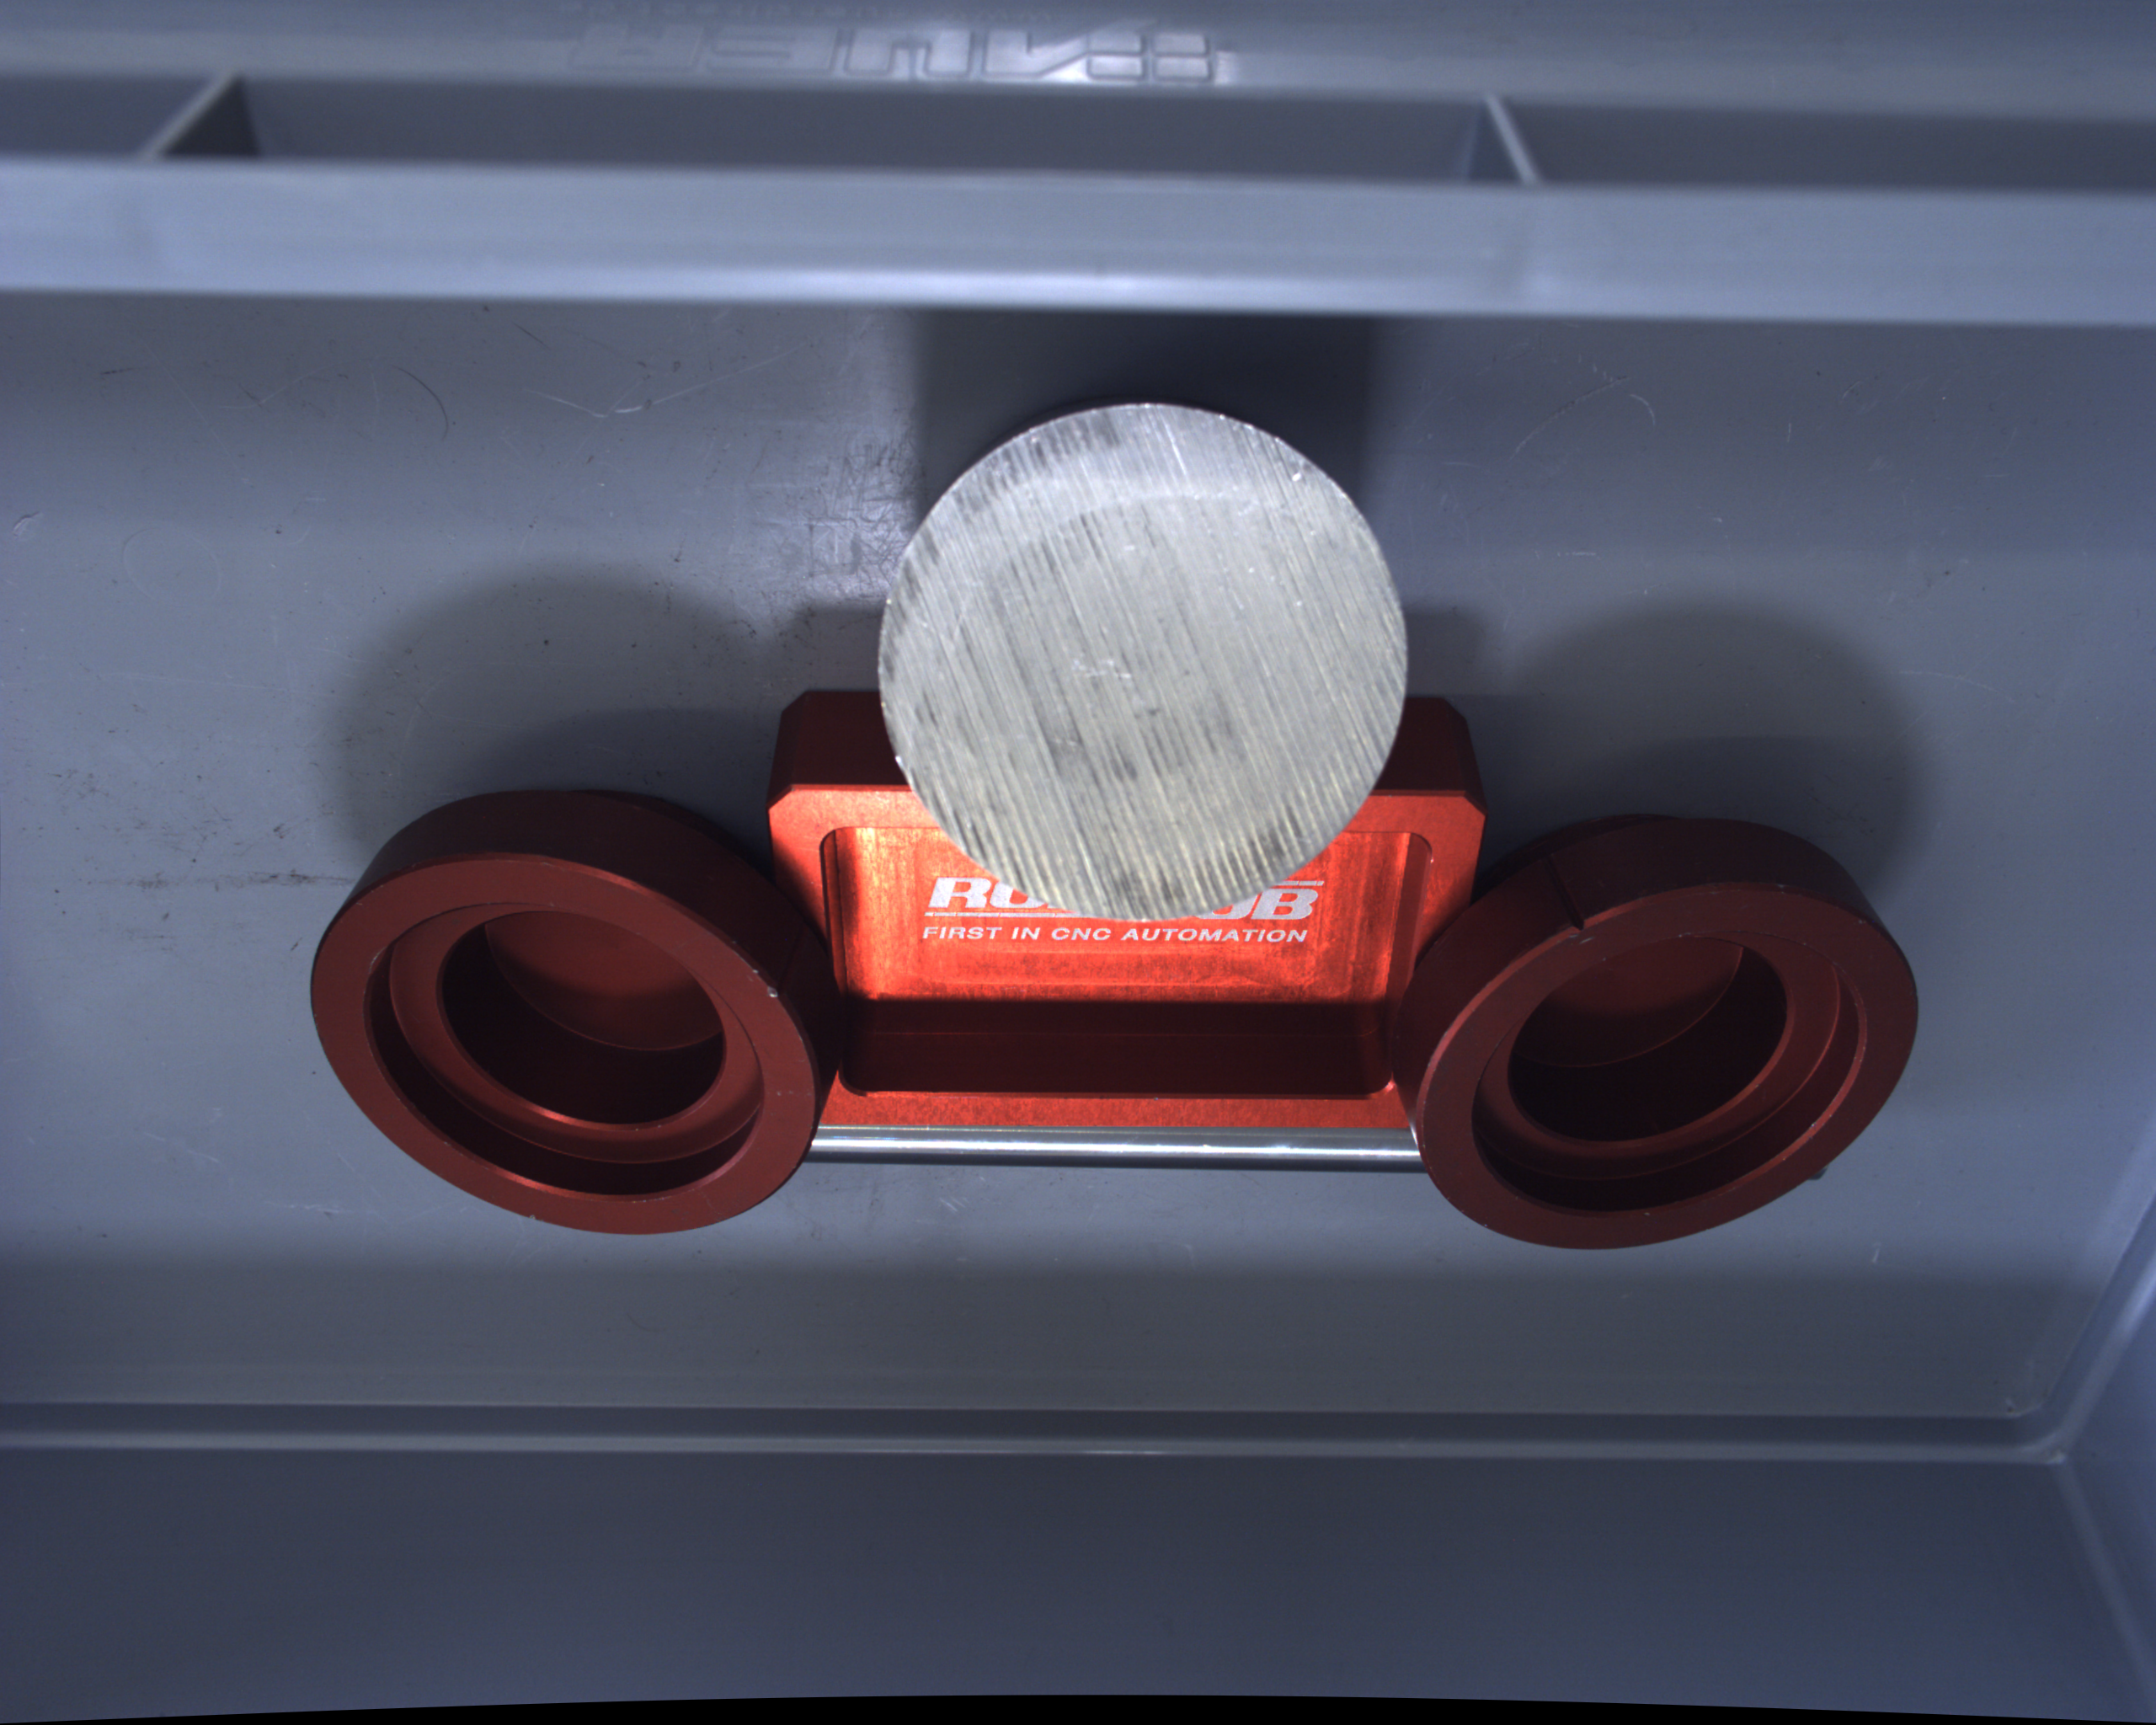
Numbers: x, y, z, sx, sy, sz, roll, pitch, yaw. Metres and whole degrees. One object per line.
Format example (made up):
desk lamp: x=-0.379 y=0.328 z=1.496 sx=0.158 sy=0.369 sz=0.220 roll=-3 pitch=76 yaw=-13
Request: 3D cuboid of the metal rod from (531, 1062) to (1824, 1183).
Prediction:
metal rod: x=0.010 y=0.055 z=0.453 sx=0.302 sy=0.025 sz=0.025 roll=1 pitch=130 yaw=-2

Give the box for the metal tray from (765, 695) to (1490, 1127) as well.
metal tray: x=0.008 y=0.012 z=0.413 sx=0.131 sy=0.030 sz=0.089 roll=0 pitch=131 yaw=-1

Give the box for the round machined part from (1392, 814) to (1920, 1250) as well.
round machined part: x=0.110 y=0.029 z=0.415 sx=0.099 sy=0.042 sz=0.097 roll=-5 pitch=129 yaw=-6

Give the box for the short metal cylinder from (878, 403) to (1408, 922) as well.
short metal cylinder: x=0.010 y=-0.035 z=0.341 sx=0.081 sy=0.050 sz=0.079 roll=0 pitch=104 yaw=0

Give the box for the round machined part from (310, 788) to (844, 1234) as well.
round machined part: x=-0.094 y=0.025 z=0.409 sx=0.099 sy=0.042 sz=0.097 roll=5 pitch=128 yaw=6
